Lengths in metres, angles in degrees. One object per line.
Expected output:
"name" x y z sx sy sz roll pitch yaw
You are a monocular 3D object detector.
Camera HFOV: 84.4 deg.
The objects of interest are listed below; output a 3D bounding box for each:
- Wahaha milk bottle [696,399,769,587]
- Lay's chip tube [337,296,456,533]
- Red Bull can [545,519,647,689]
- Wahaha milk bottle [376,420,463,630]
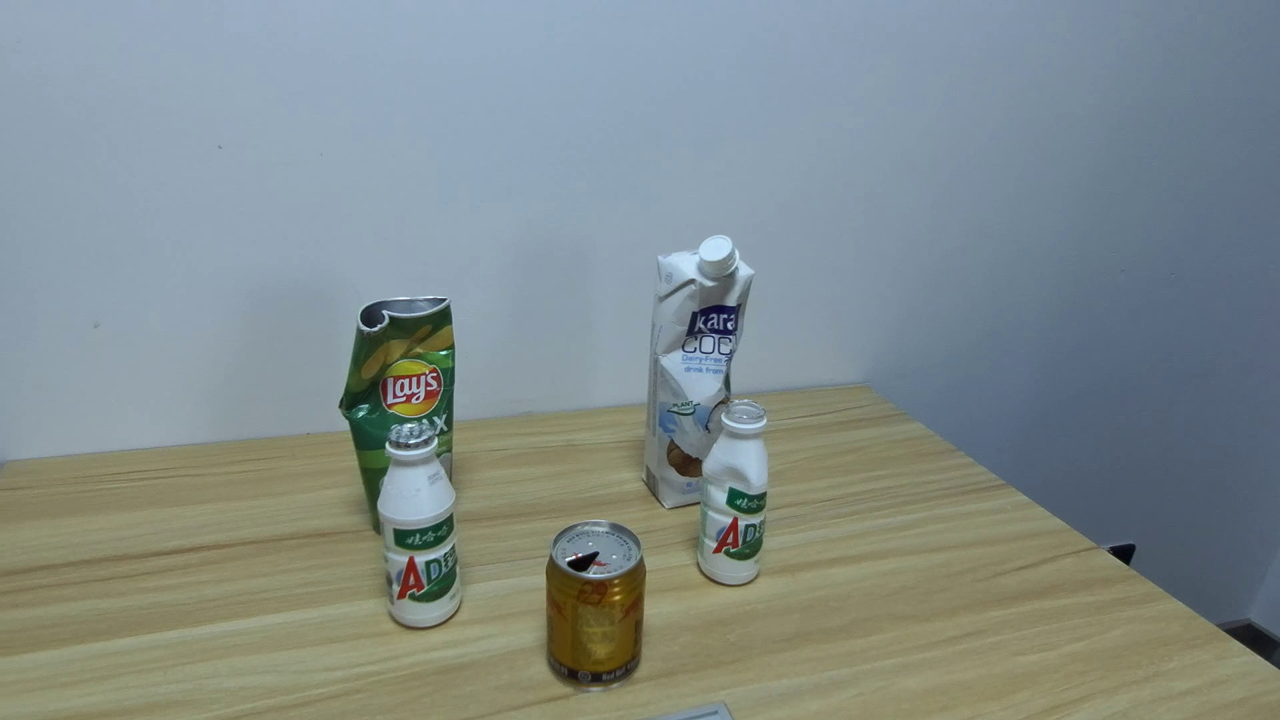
"Wahaha milk bottle" 0.076 0.104 0.553 0.055 0.149 0.055 2 25 -1
"Lay's chip tube" -0.199 0.048 0.596 0.069 0.201 0.077 7 27 7
"Red Bull can" -0.029 0.162 0.472 0.067 0.093 0.067 3 23 -1
"Wahaha milk bottle" -0.156 0.117 0.499 0.053 0.147 0.053 2 22 0
